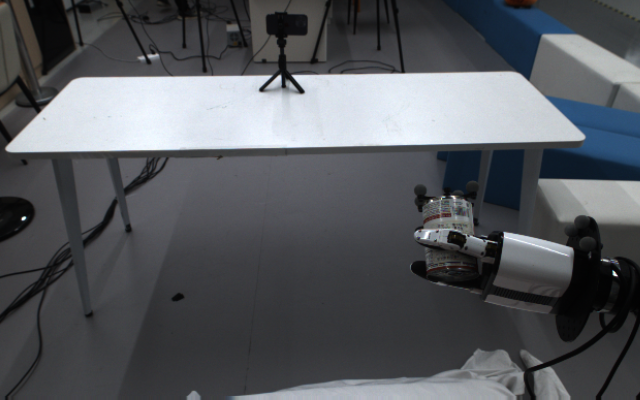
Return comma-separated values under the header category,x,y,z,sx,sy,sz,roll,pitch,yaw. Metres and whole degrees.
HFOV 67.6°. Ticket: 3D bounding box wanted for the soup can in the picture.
category,x,y,z,sx,sy,sz,roll,pitch,yaw
soup can,0.175,0.053,0.649,0.067,0.067,0.101,2,69,-1
